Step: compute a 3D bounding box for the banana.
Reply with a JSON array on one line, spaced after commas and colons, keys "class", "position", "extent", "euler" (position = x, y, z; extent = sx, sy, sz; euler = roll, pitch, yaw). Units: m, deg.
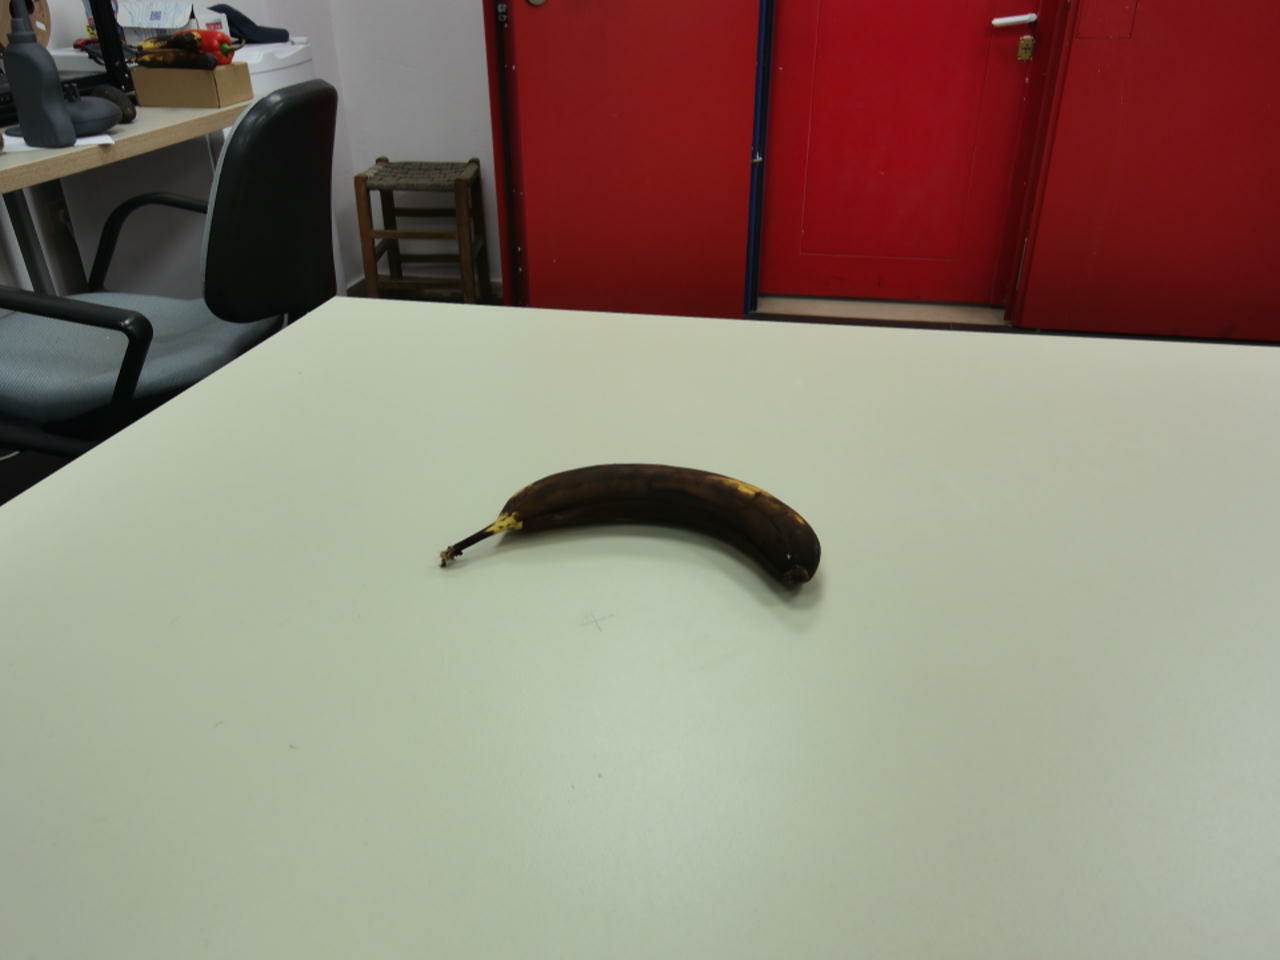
[{"class": "banana", "position": [0.000, 0.019, 0.516], "extent": [0.188, 0.034, 0.091], "euler": [5, 26, 12]}]
